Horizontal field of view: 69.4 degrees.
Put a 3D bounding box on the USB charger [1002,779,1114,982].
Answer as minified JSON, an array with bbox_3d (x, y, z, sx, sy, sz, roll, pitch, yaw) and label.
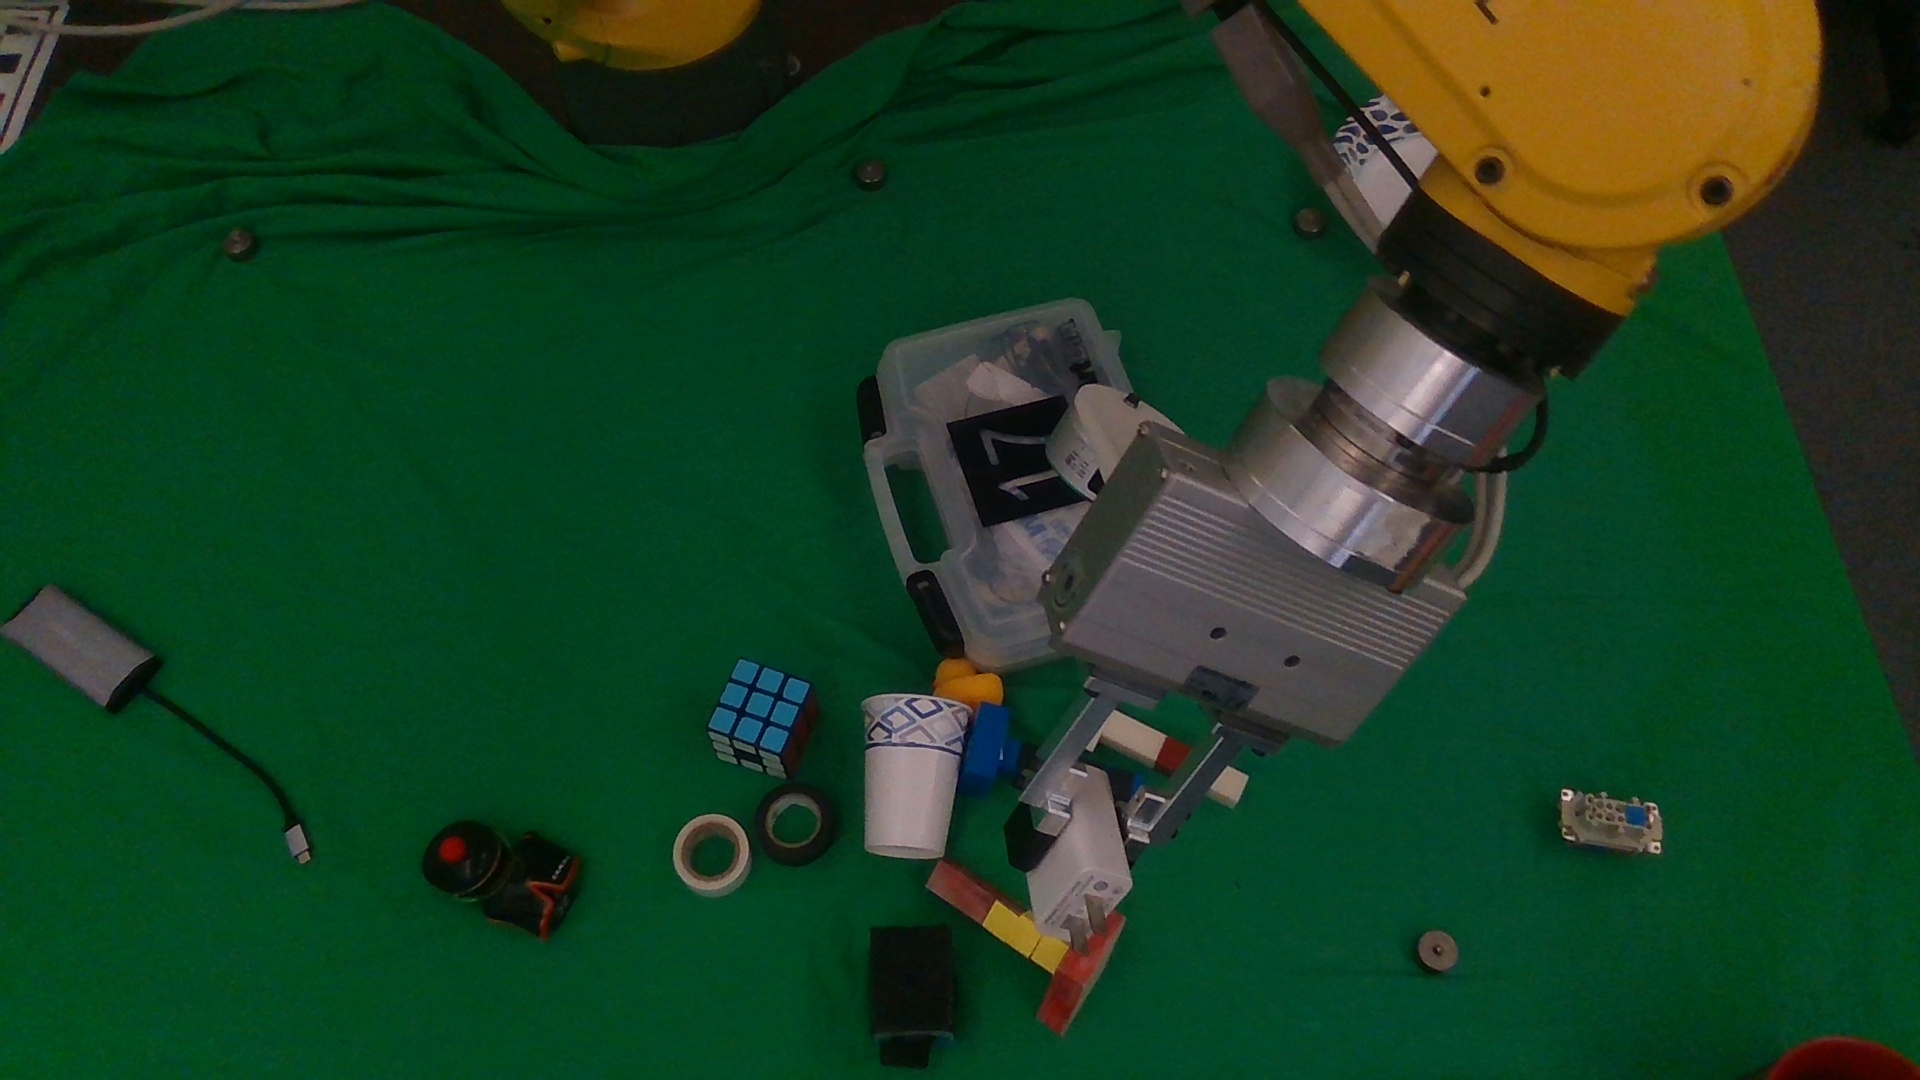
[{"bbox_3d":[0.037,0.128,0.519,0.029,0.045,0.075,20,34,-18],"label":"USB charger"}]

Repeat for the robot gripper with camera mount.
[{"bbox_3d":[0.062,0.031,0.566,0.119,0.159,0.193,22,25,-16],"label":"robot gripper with camera mount"}]
